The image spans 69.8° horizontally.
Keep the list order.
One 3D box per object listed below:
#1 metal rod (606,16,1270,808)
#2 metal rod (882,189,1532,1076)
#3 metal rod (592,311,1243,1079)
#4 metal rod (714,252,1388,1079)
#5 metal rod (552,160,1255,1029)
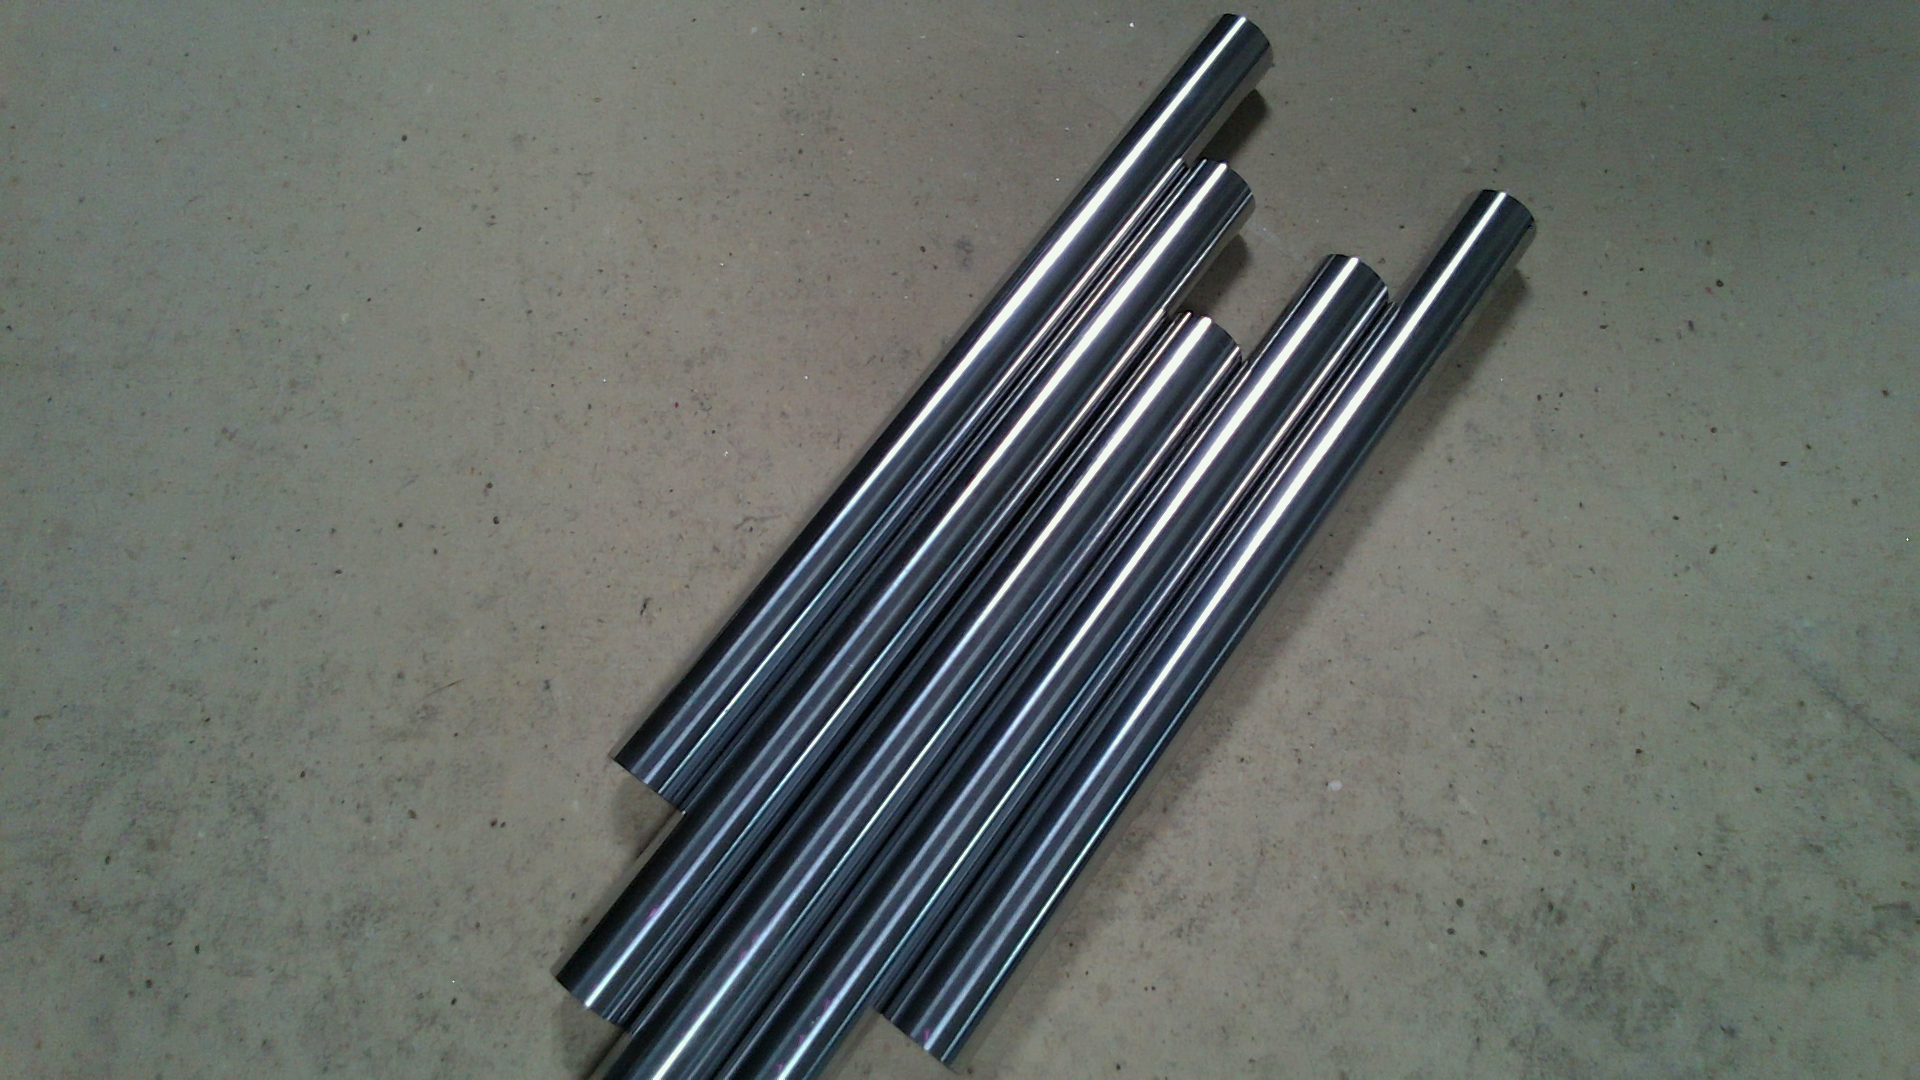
[{"bbox_3d":[0.003,-0.048,0.412,0.025,0.025,0.300,34,74,12],"label":"metal rod"},{"bbox_3d":[0.079,0.014,0.389,0.025,0.025,0.300,34,74,12],"label":"metal rod"},{"bbox_3d":[-0.013,0.054,0.375,0.025,0.025,0.300,34,73,12],"label":"metal rod"},{"bbox_3d":[0.032,0.035,0.382,0.025,0.025,0.300,34,74,12],"label":"metal rod"},{"bbox_3d":[-0.006,0.003,0.393,0.025,0.025,0.300,34,73,12],"label":"metal rod"}]
